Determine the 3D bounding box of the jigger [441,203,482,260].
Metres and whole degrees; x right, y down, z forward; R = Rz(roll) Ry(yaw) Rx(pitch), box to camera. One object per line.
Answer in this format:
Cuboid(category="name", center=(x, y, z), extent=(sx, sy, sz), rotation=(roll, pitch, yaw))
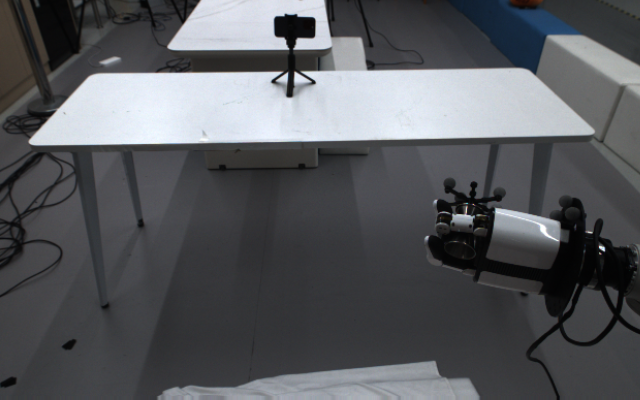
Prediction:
Cuboid(category="jigger", center=(0.205, 0.042, 0.677), extent=(0.043, 0.043, 0.071), rotation=(13, 58, 15))
